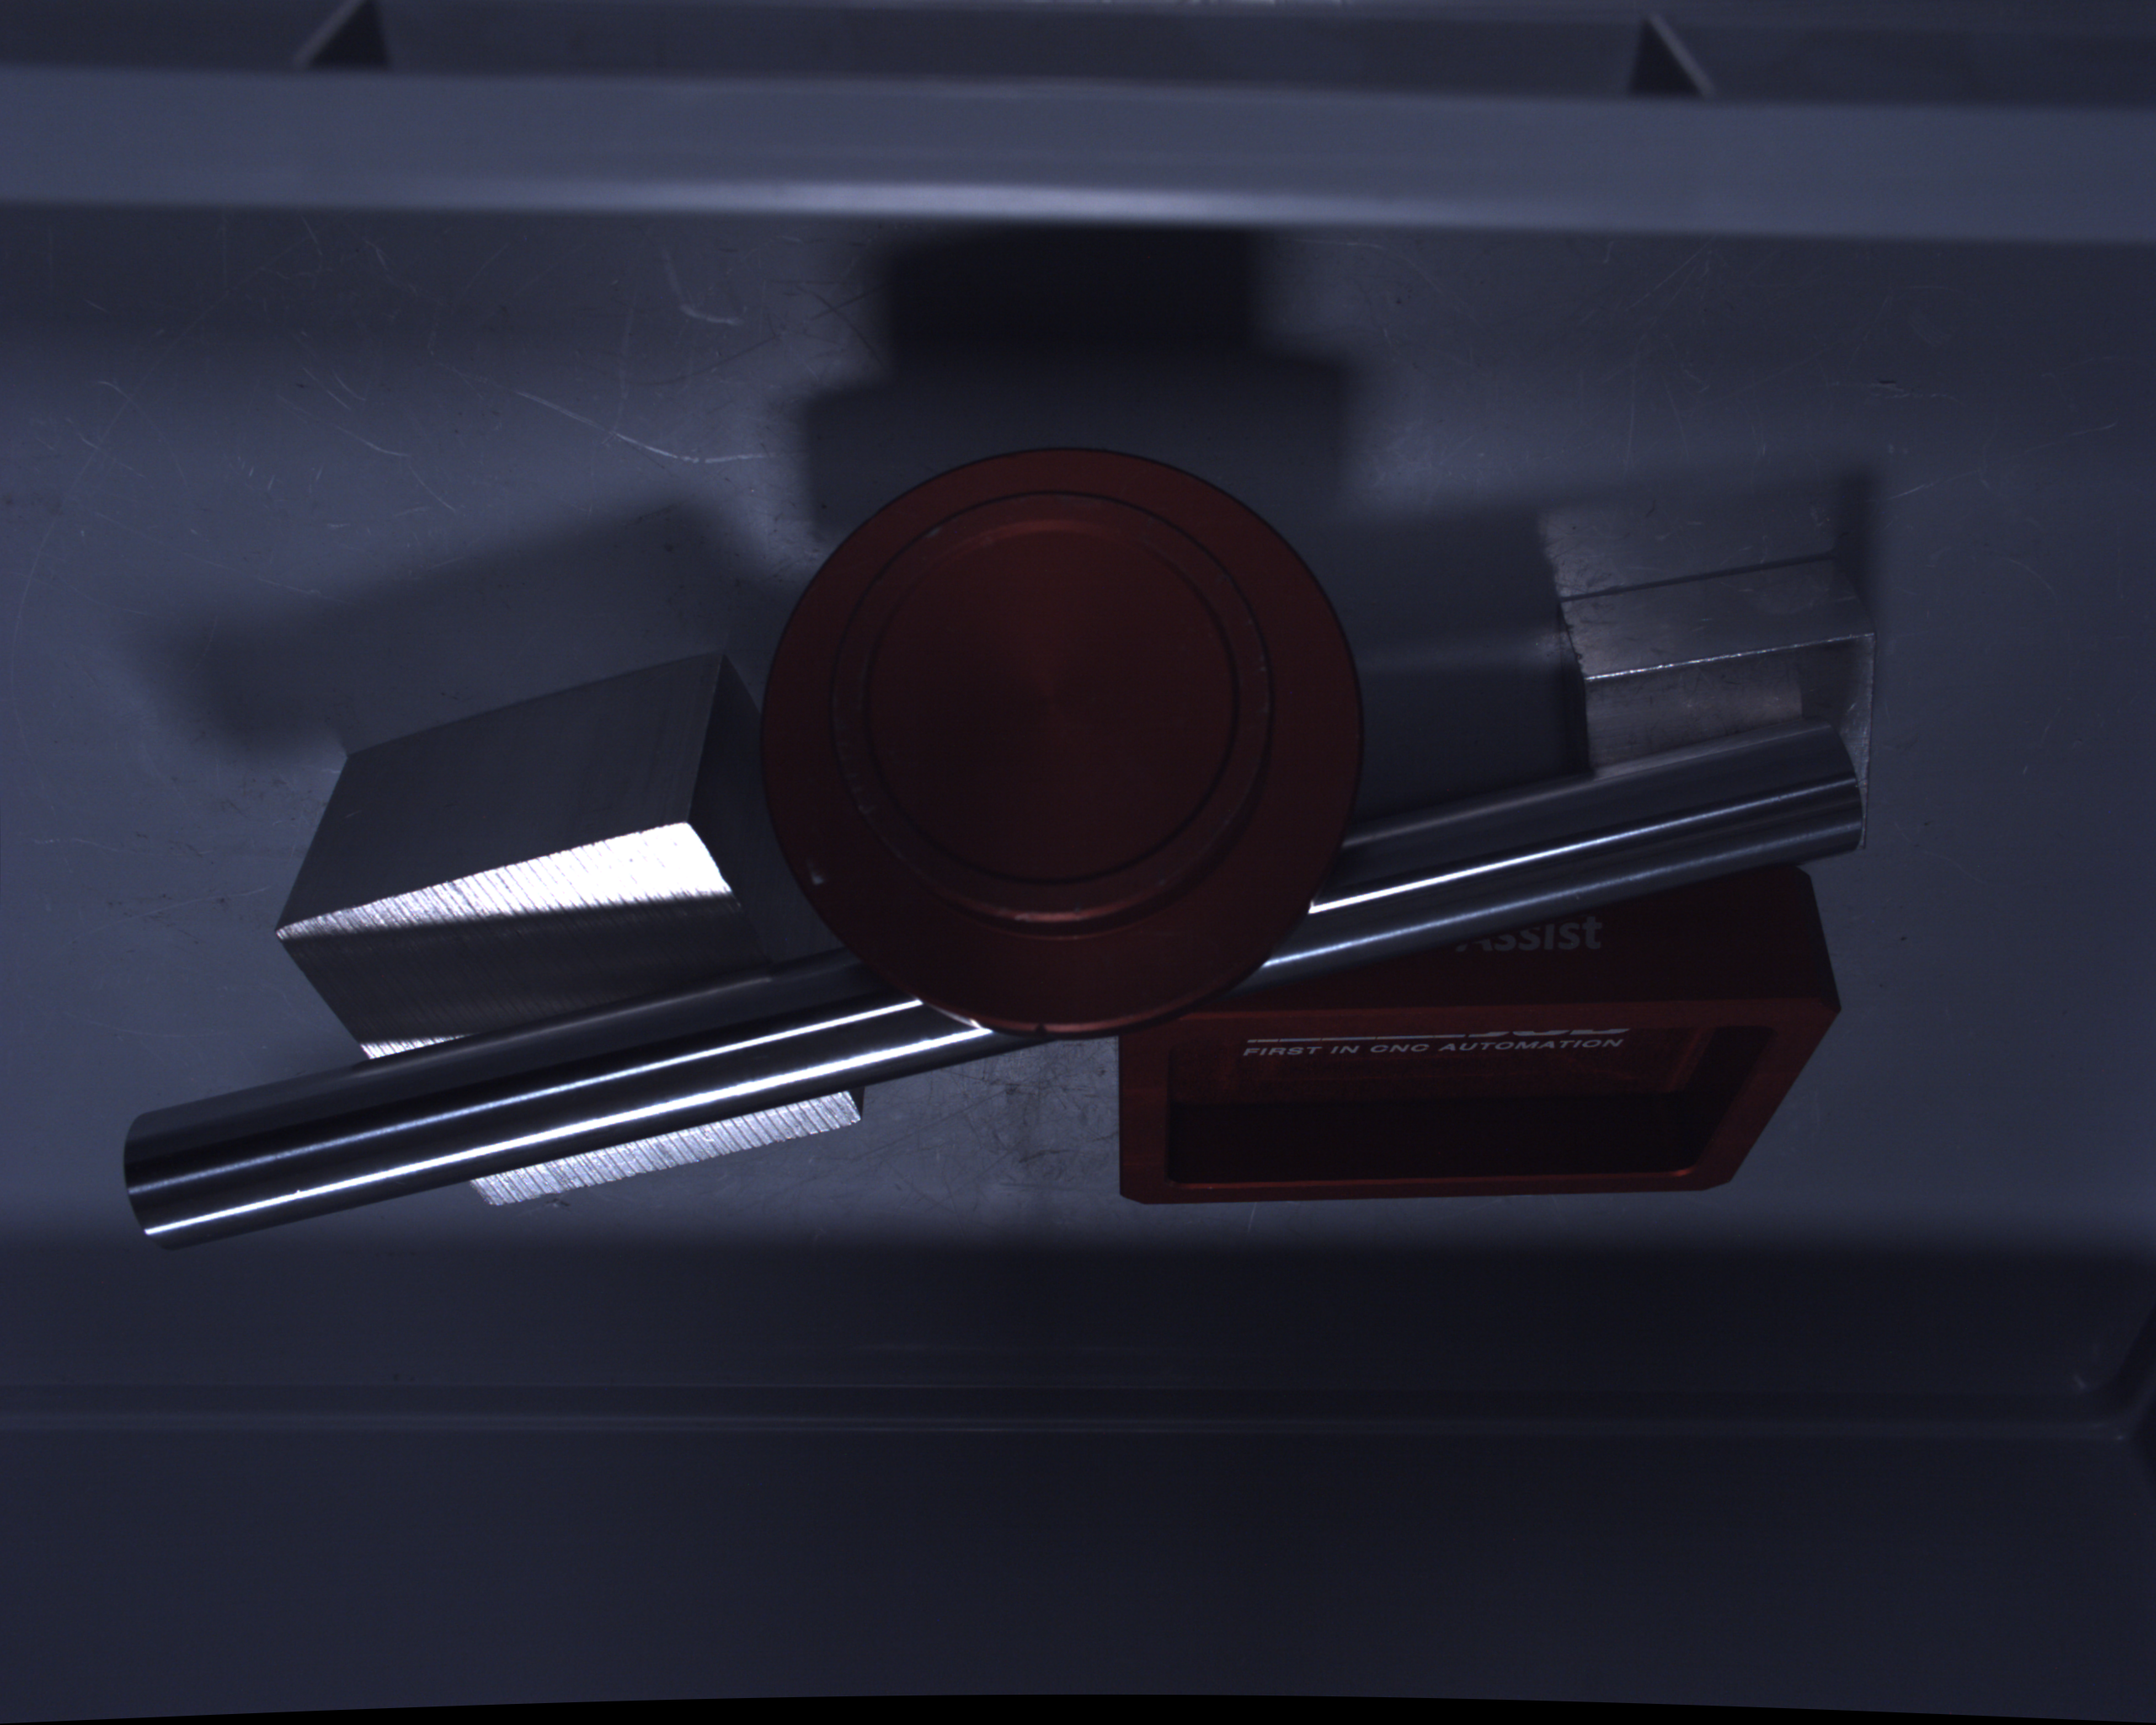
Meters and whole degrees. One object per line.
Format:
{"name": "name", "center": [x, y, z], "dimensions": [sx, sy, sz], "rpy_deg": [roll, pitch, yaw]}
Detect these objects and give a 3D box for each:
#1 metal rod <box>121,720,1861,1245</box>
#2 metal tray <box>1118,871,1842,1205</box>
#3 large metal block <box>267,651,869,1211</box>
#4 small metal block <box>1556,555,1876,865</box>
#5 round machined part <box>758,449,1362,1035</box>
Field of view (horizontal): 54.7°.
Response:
{"name": "metal rod", "center": [-0.015, 0.021, 0.366], "dimensions": [0.302, 0.025, 0.025], "rpy_deg": [-13, 130, 1]}
{"name": "metal tray", "center": [0.073, 0.037, 0.418], "dimensions": [0.131, 0.030, 0.090], "rpy_deg": [-2, 150, 0]}
{"name": "large metal block", "center": [-0.091, 0.015, 0.401], "dimensions": [0.080, 0.050, 0.080], "rpy_deg": [-14, 129, 11]}
{"name": "small metal block", "center": [0.118, -0.025, 0.387], "dimensions": [0.050, 0.025, 0.050], "rpy_deg": [-9, 130, 7]}
{"name": "round machined part", "center": [-0.003, -0.021, 0.339], "dimensions": [0.099, 0.097, 0.042], "rpy_deg": [-4, 171, 2]}
